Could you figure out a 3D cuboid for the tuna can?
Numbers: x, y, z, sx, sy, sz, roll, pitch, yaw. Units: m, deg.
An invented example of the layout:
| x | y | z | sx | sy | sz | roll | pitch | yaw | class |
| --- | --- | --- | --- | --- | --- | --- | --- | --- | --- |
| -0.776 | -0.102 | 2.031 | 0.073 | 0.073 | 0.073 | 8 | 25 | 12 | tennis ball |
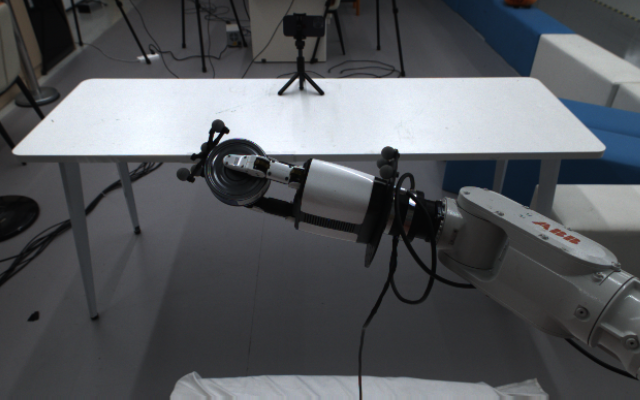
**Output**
| x | y | z | sx | sy | sz | roll | pitch | yaw | class |
| --- | --- | --- | --- | --- | --- | --- | --- | --- | --- |
| -0.104 | -0.033 | 0.633 | 0.085 | 0.034 | 0.085 | 1 | 77 | -5 | tuna can |
